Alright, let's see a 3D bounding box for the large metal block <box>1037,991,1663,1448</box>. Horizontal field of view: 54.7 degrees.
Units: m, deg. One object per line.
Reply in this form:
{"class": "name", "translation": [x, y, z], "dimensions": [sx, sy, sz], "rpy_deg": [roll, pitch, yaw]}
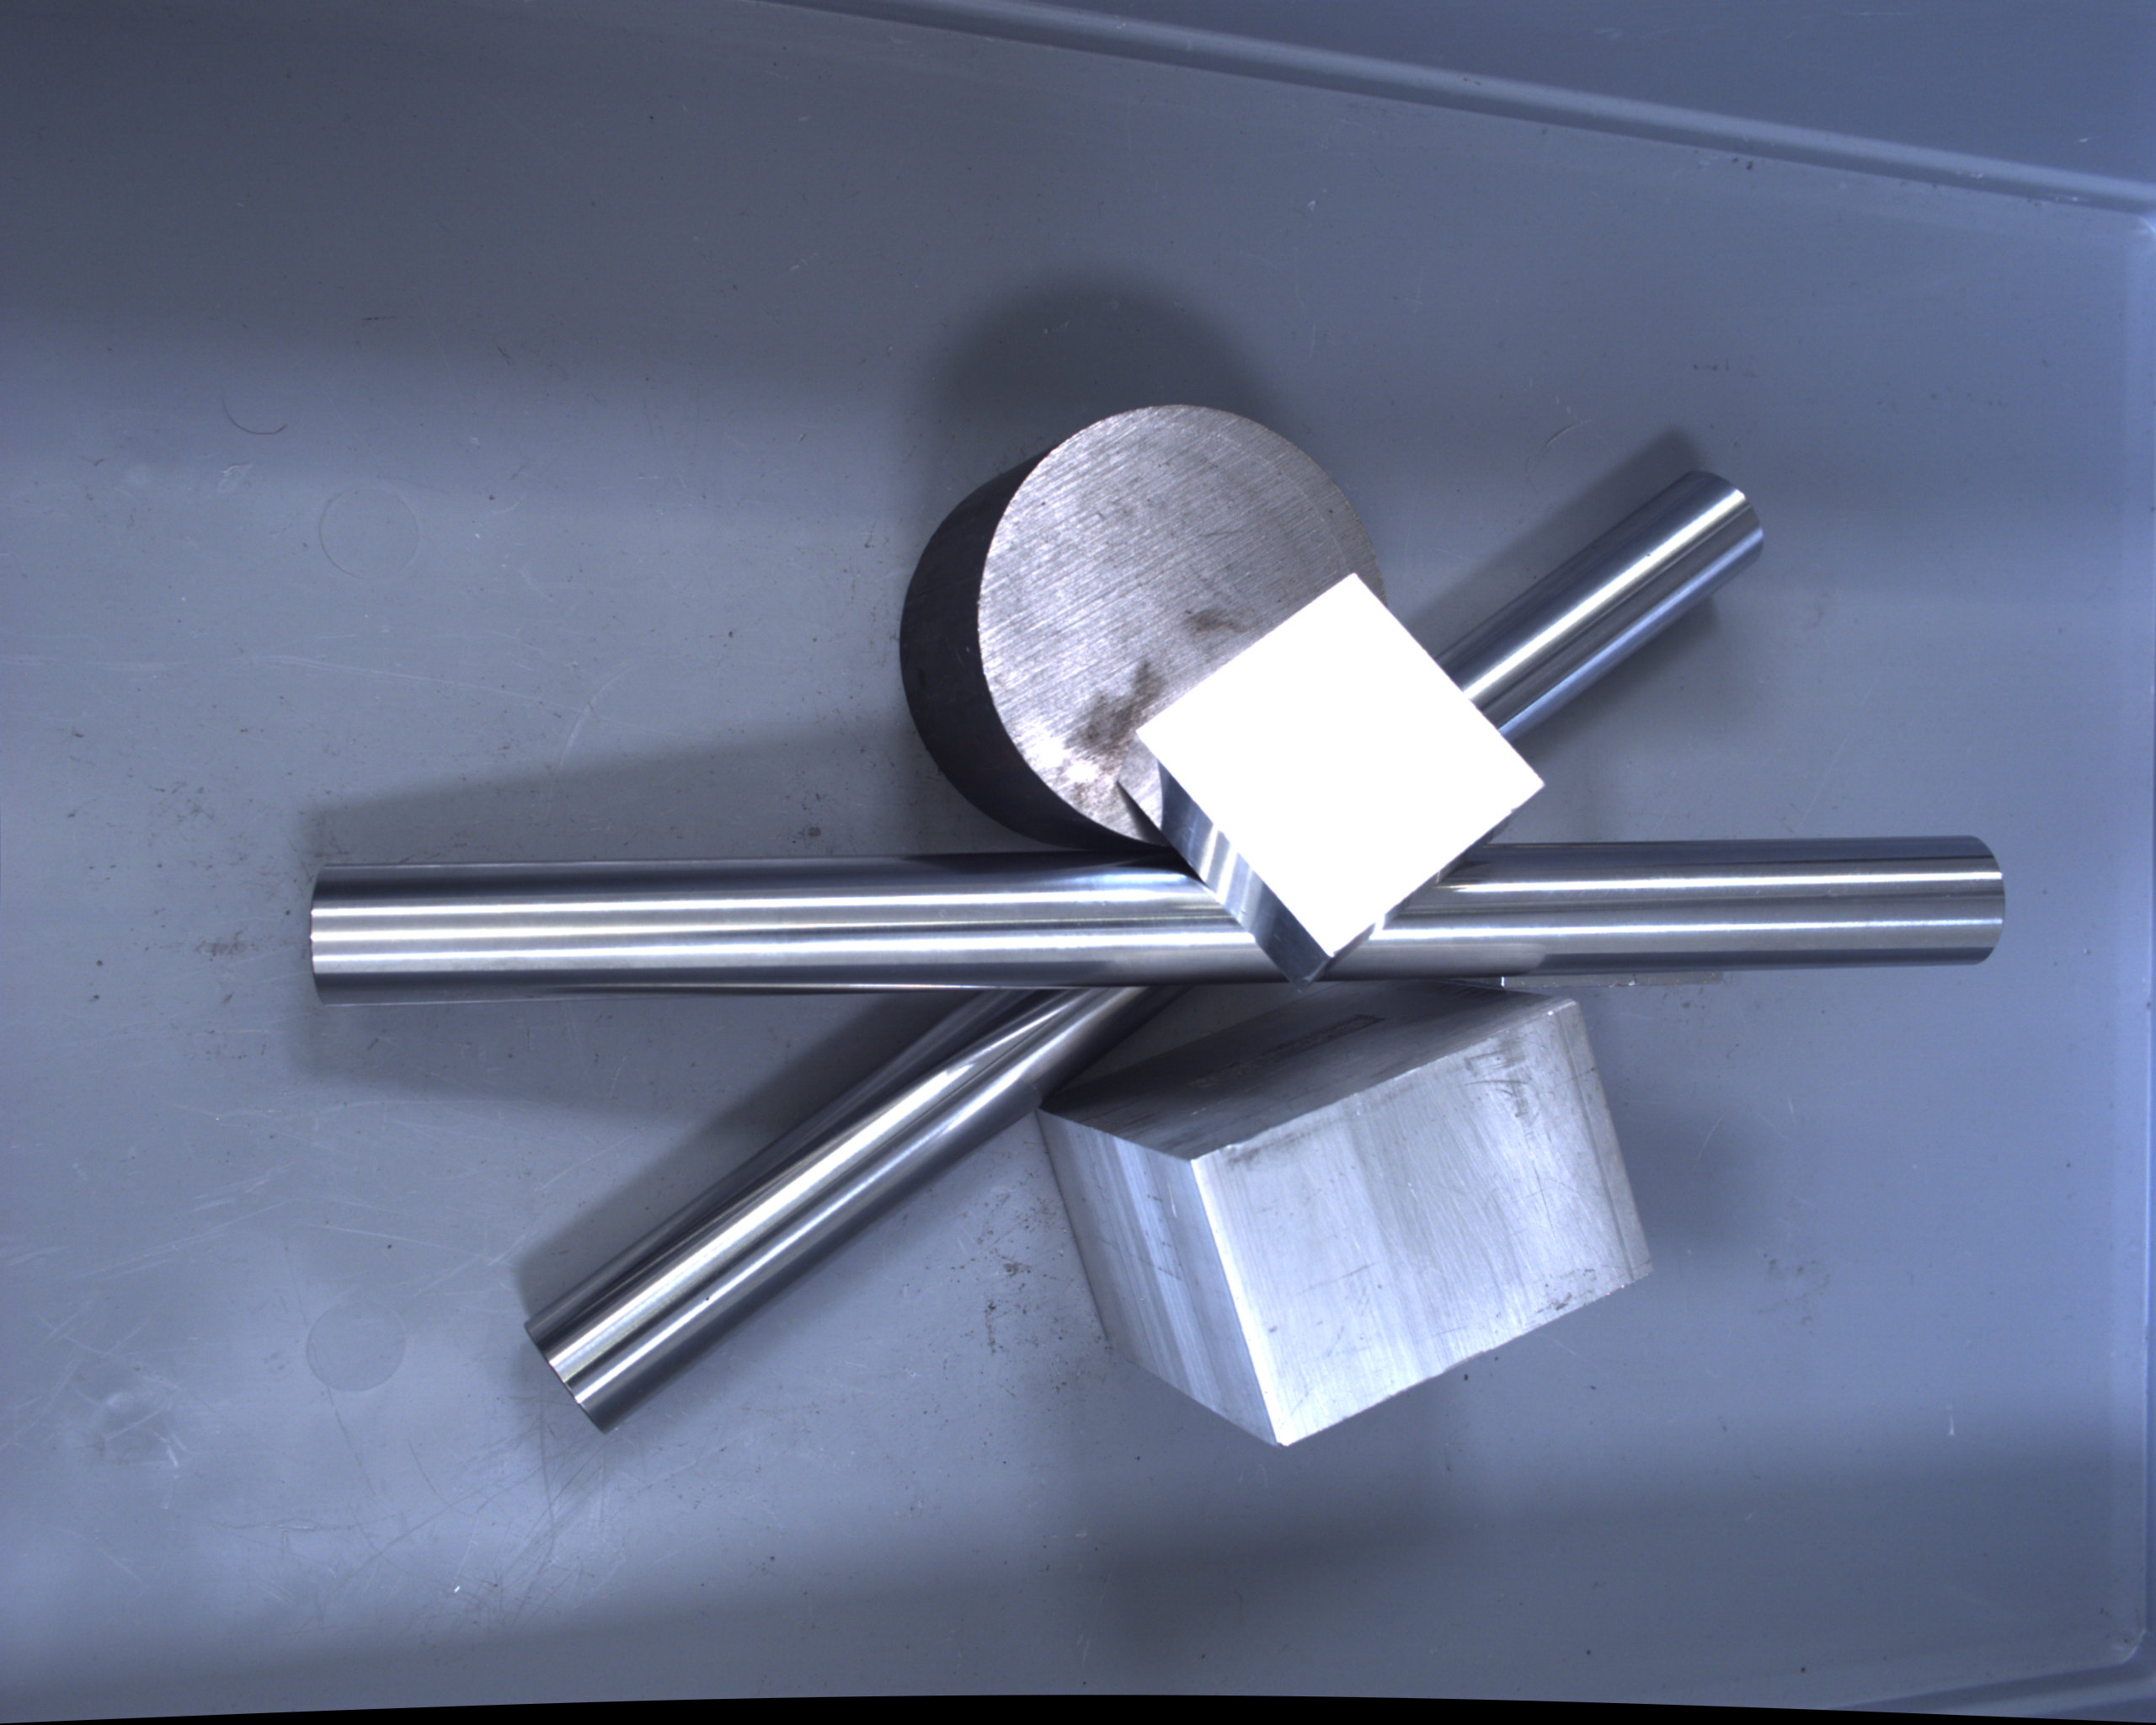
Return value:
{"class": "large metal block", "translation": [0.048, 0.061, 0.397], "dimensions": [0.081, 0.080, 0.050], "rpy_deg": [-19, 97, -19]}

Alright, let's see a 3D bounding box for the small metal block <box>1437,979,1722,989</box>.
{"class": "small metal block", "translation": [0.097, 0.012, 0.432], "dimensions": [0.050, 0.050, 0.025], "rpy_deg": [0, 90, -19]}

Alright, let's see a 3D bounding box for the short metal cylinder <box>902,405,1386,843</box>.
{"class": "short metal cylinder", "translation": [0.012, -0.043, 0.400], "dimensions": [0.081, 0.050, 0.079], "rpy_deg": [0, 89, -20]}

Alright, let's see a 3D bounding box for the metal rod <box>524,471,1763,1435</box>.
{"class": "metal rod", "translation": [0.025, 0.009, 0.419], "dimensions": [0.301, 0.025, 0.025], "rpy_deg": [-36, 102, -17]}

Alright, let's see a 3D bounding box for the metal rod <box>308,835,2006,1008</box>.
{"class": "metal rod", "translation": [0.020, 0.010, 0.379], "dimensions": [0.302, 0.025, 0.025], "rpy_deg": [-1, 91, -7]}

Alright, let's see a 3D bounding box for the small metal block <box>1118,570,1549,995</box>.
{"class": "small metal block", "translation": [0.043, -0.014, 0.363], "dimensions": [0.050, 0.025, 0.050], "rpy_deg": [-37, 79, -16]}
